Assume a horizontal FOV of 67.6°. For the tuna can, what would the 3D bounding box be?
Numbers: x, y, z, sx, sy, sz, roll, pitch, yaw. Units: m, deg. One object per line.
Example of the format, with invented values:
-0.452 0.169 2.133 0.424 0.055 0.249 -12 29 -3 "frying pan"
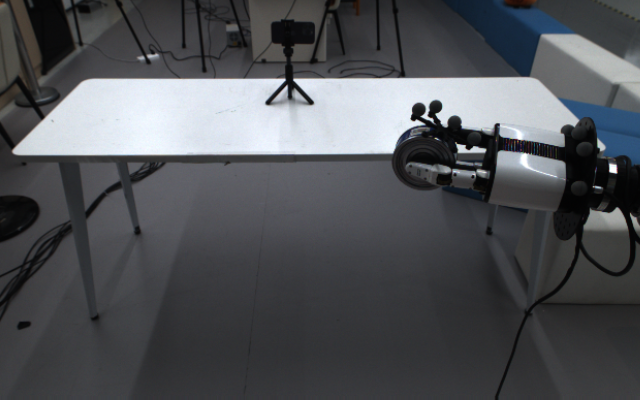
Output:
0.145 -0.050 0.655 0.085 0.085 0.034 12 35 14 "tuna can"
